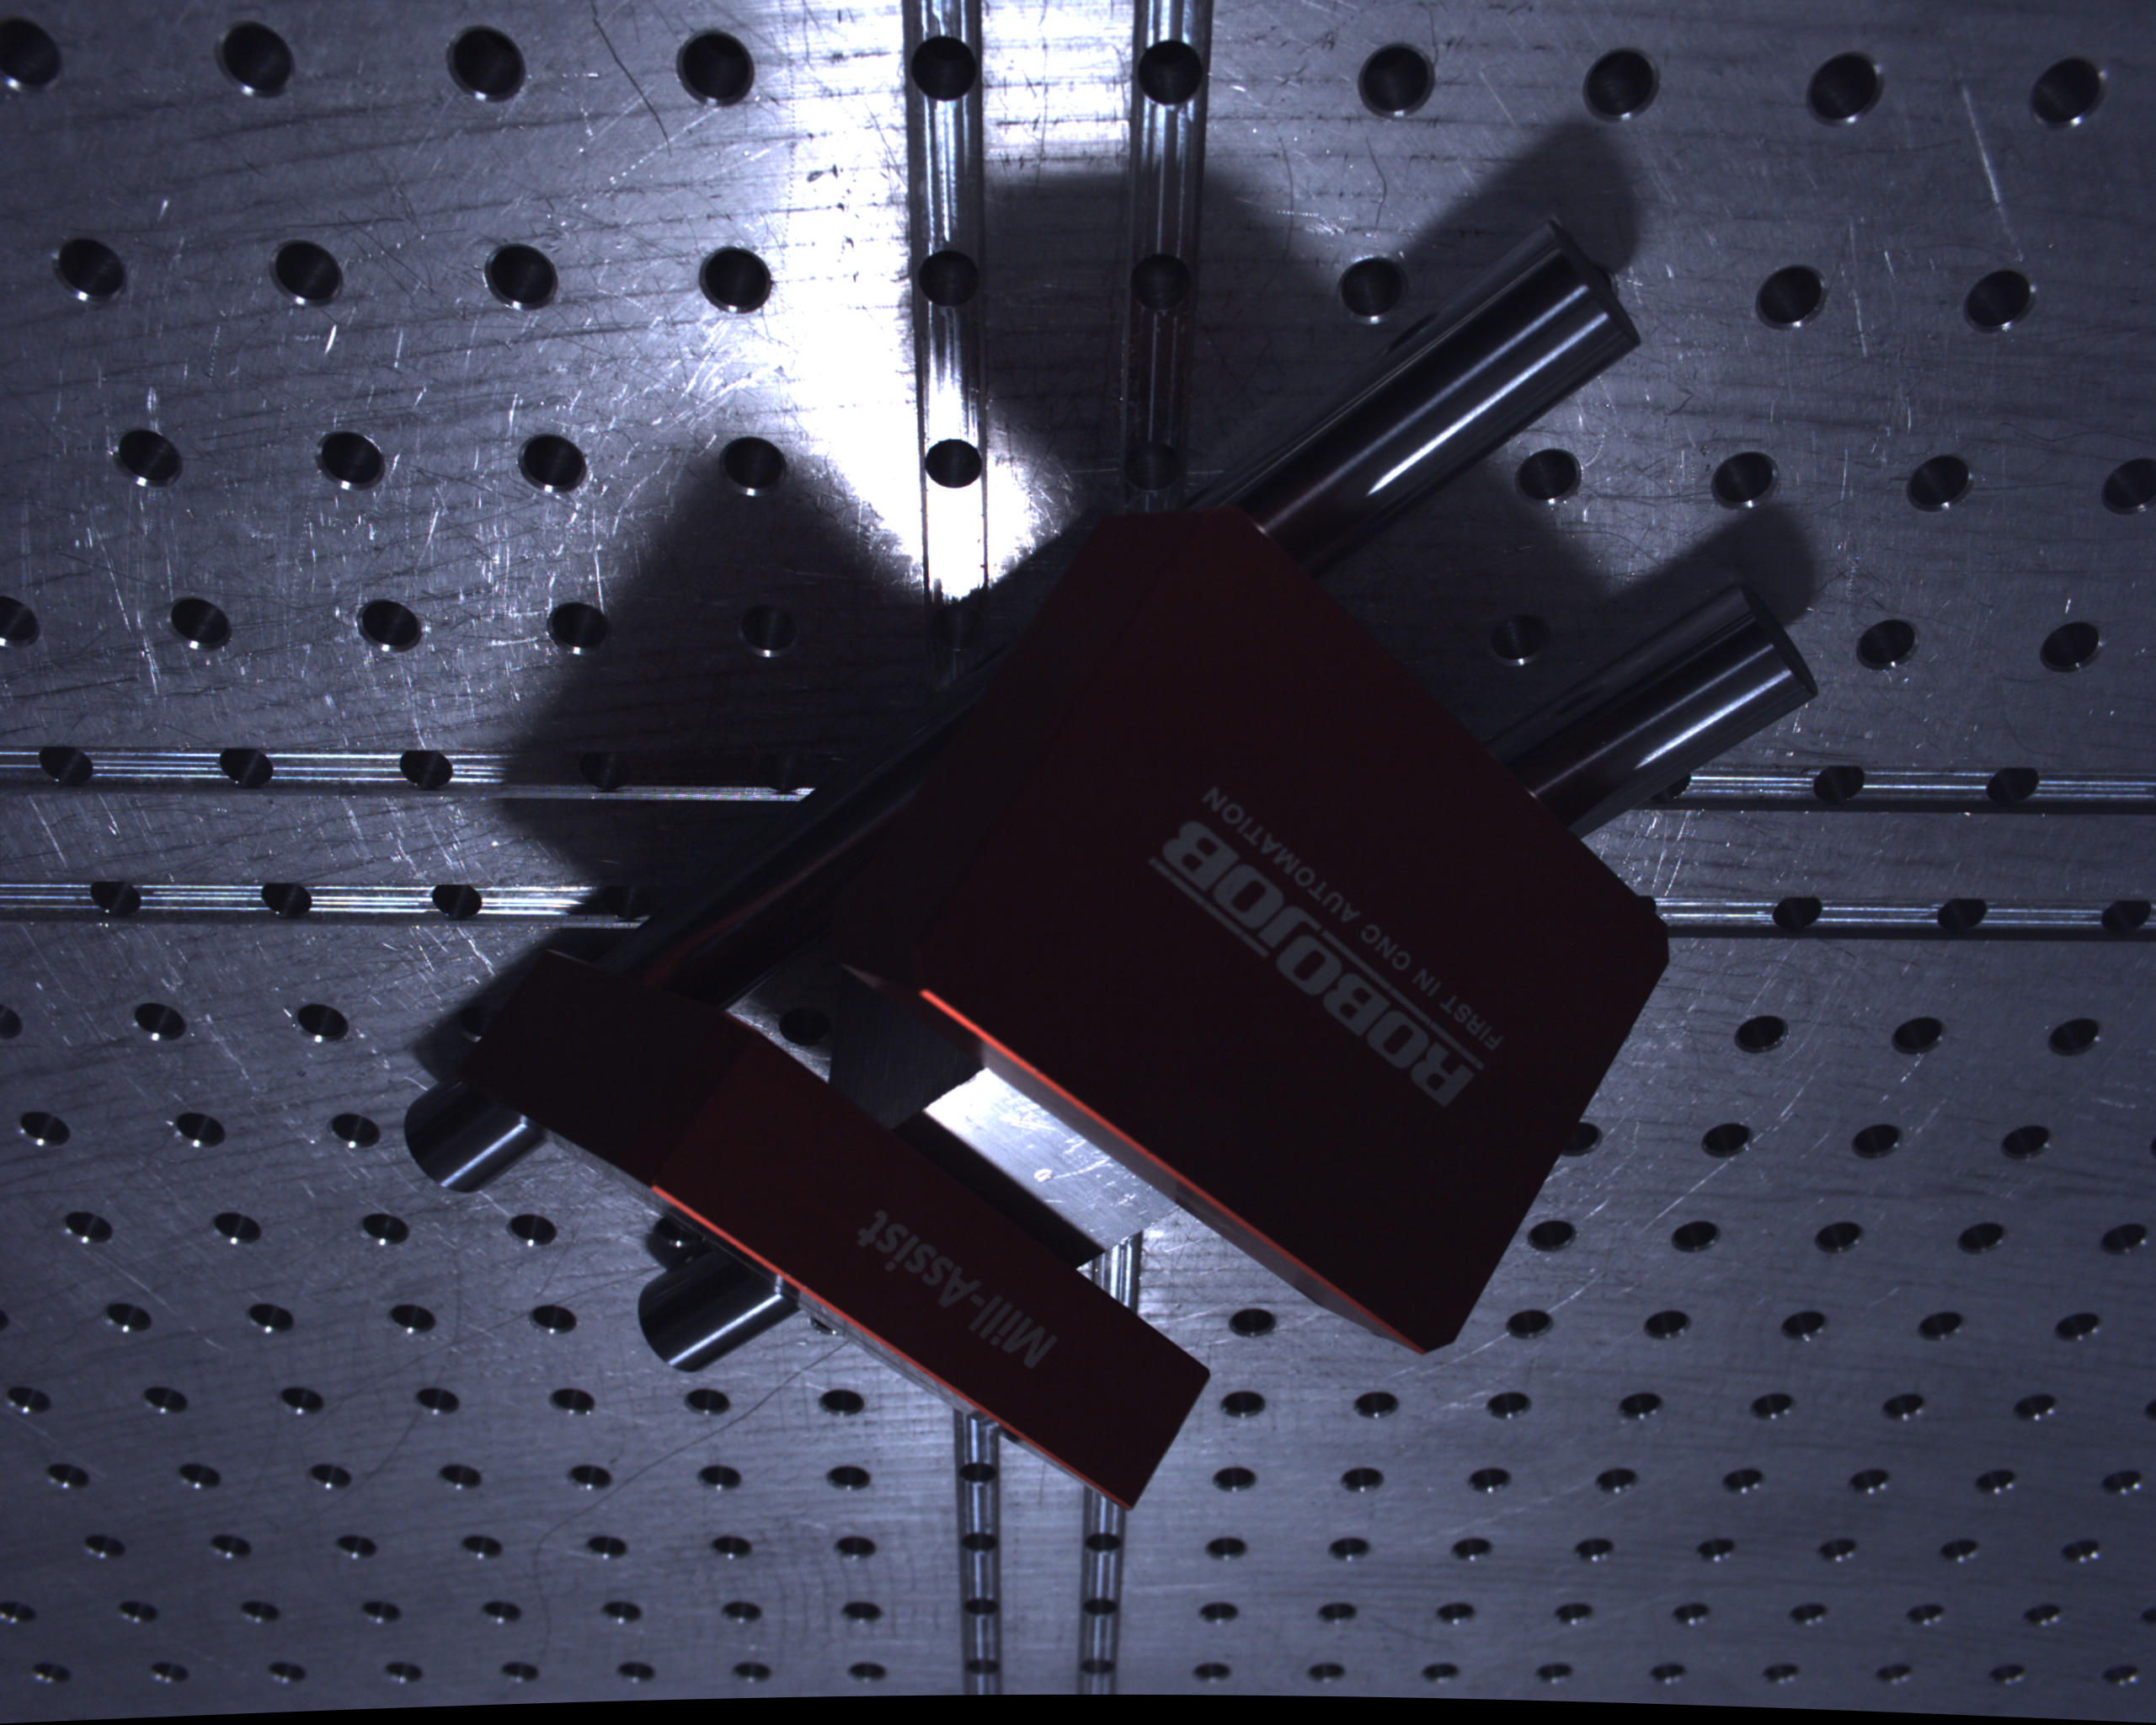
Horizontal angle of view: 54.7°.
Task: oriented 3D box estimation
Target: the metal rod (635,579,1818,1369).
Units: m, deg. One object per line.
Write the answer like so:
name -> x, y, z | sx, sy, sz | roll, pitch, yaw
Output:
metal rod -> 0.015, 0.035, 0.442 | 0.299, 0.025, 0.025 | -34, 123, 25

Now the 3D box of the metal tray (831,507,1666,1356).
metal tray -> 0.035, 0.014, 0.352 | 0.130, 0.030, 0.090 | 39, 76, -29

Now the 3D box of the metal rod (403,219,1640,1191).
metal rod -> -0.028, -0.016, 0.398 | 0.299, 0.025, 0.025 | -35, 122, 25

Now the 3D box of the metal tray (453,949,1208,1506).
metal tray -> -0.047, 0.069, 0.399 | 0.130, 0.030, 0.090 | 42, 162, -30

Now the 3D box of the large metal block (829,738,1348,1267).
large metal block -> 0.000, 0.023, 0.394 | 0.080, 0.080, 0.050 | -34, 122, 25
